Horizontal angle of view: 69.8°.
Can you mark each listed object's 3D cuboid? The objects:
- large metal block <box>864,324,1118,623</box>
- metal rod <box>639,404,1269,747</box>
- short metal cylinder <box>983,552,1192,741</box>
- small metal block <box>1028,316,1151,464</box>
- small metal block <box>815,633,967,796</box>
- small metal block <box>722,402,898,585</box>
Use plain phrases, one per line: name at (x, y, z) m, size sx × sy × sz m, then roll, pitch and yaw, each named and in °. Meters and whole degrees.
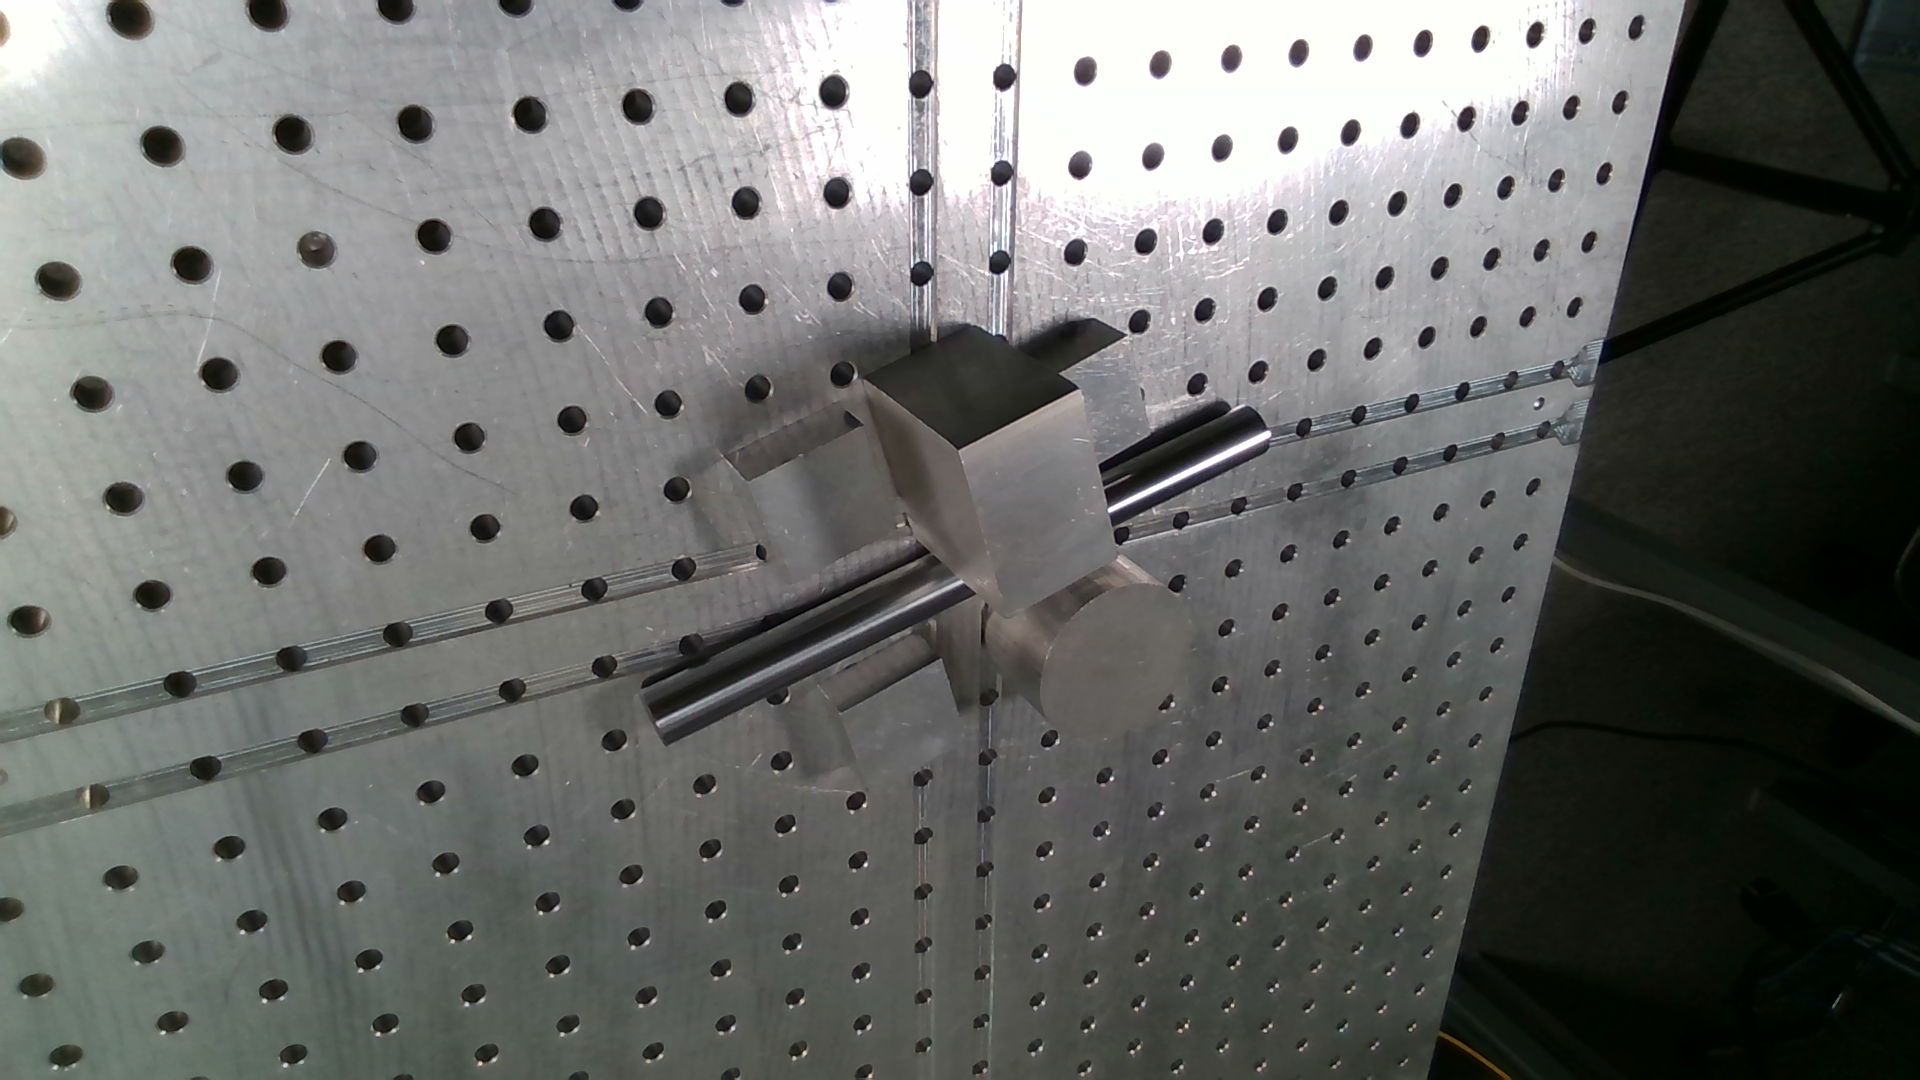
large metal block at (0.012, -0.028, 0.539) m, size 0.050 × 0.080 × 0.080 m, roll -28°, pitch 126°, yaw -16°
metal rod at (0.007, 0.010, 0.593) m, size 0.300 × 0.025 × 0.025 m, roll -25°, pitch 126°, yaw -18°
short metal cylinder at (0.058, 0.044, 0.626) m, size 0.080 × 0.050 × 0.080 m, roll -14°, pitch 122°, yaw -25°
small metal block at (0.049, -0.059, 0.582) m, size 0.050 × 0.025 × 0.050 m, roll -30°, pitch 127°, yaw -15°
small metal block at (-0.030, 0.076, 0.607) m, size 0.050 × 0.025 × 0.050 m, roll -27°, pitch 126°, yaw -16°
small metal block at (-0.058, -0.019, 0.538) m, size 0.050 × 0.025 × 0.050 m, roll -28°, pitch 126°, yaw -16°
